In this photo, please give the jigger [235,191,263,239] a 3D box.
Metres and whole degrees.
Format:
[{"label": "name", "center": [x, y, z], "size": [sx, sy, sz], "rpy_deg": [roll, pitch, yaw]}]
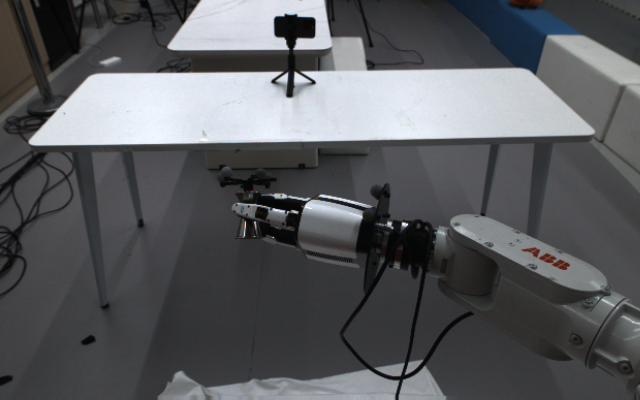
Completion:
[{"label": "jigger", "center": [-0.106, 0.023, 0.718], "size": [0.043, 0.071, 0.043], "rpy_deg": [-2, -7, 0]}]
